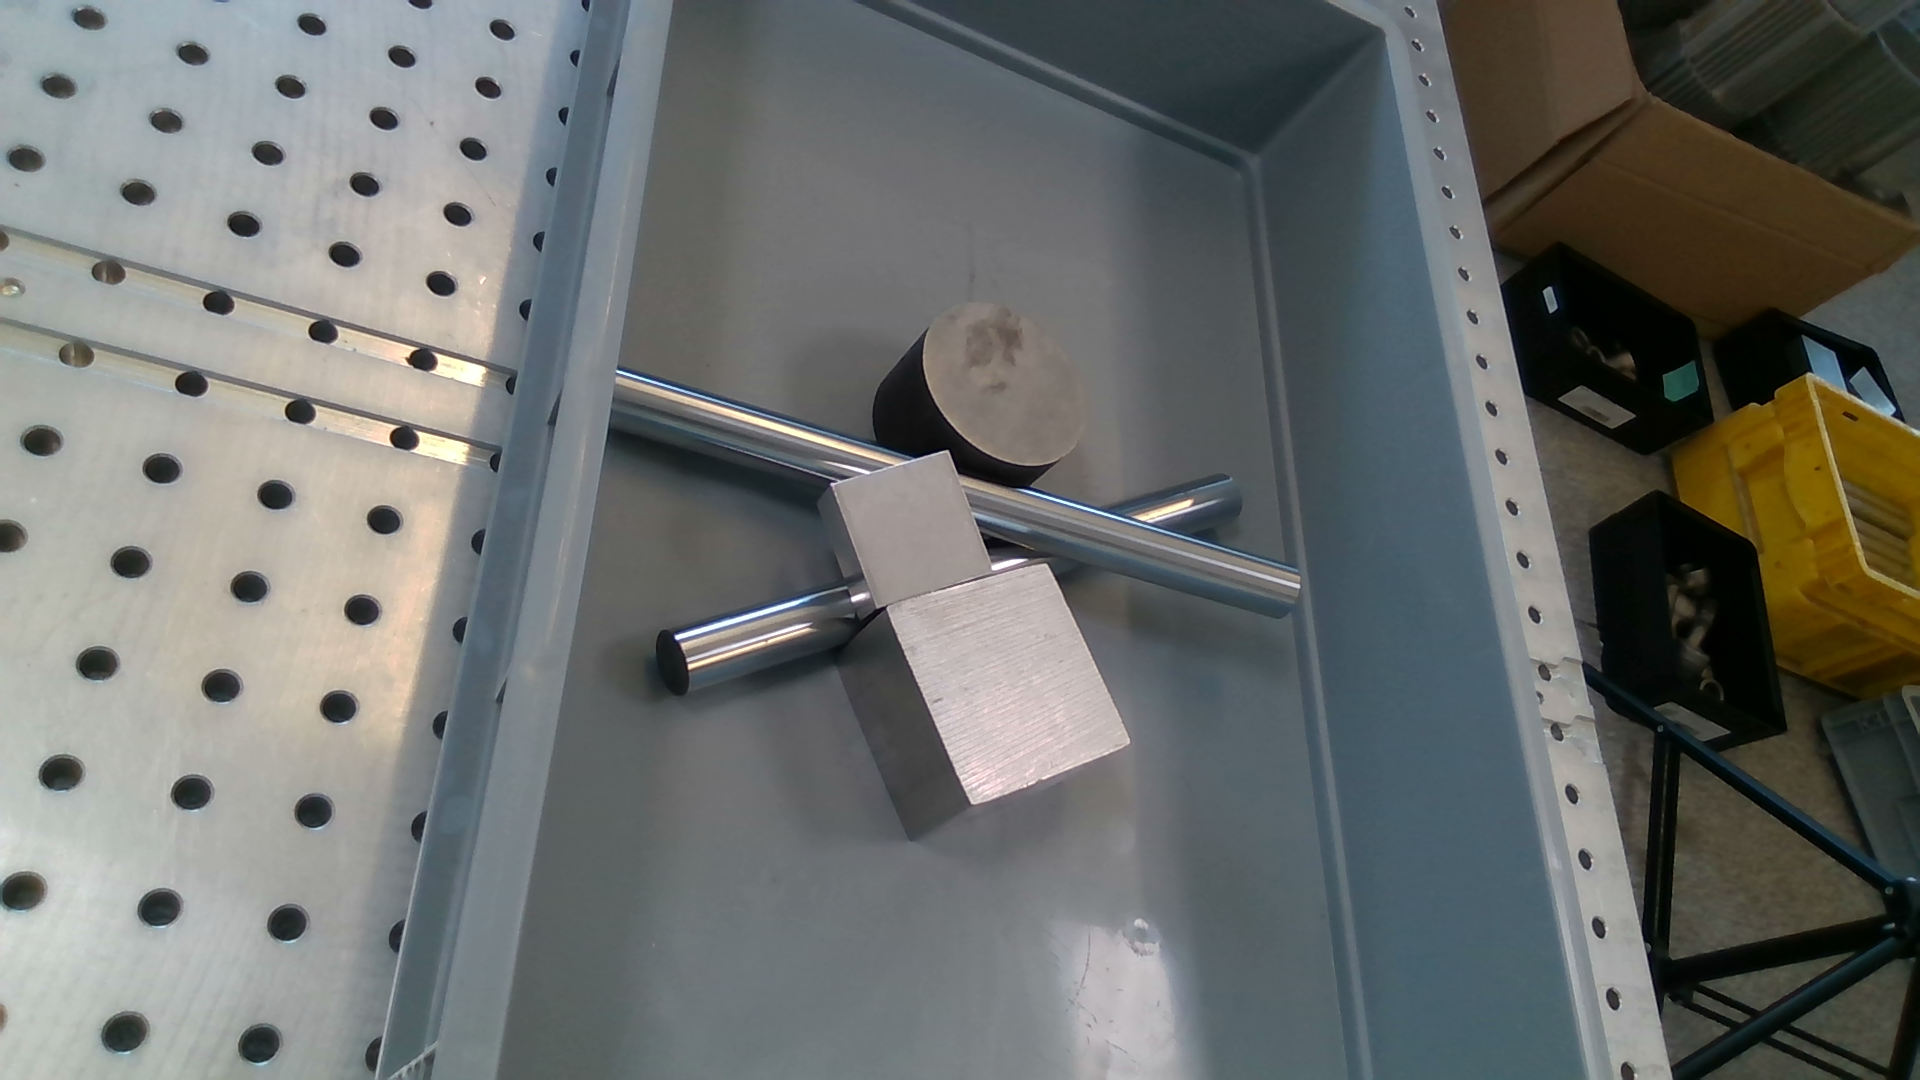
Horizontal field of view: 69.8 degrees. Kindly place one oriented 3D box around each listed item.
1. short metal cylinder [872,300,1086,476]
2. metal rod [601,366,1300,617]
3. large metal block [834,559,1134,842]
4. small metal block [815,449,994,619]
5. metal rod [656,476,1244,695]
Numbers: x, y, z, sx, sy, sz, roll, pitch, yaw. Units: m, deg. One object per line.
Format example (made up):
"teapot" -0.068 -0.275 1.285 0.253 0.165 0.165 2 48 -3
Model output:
"short metal cylinder" 0.008 -0.058 0.605 0.080 0.050 0.080 14 59 -25
"metal rod" 0.004 -0.017 0.571 0.300 0.025 0.025 15 58 -15
"large metal block" 0.008 0.062 0.540 0.080 0.050 0.080 -15 74 -36
"small metal block" -0.022 -0.002 0.531 0.050 0.025 0.050 -18 83 -22
"metal rod" 0.013 0.012 0.586 0.300 0.025 0.025 -16 74 -36
